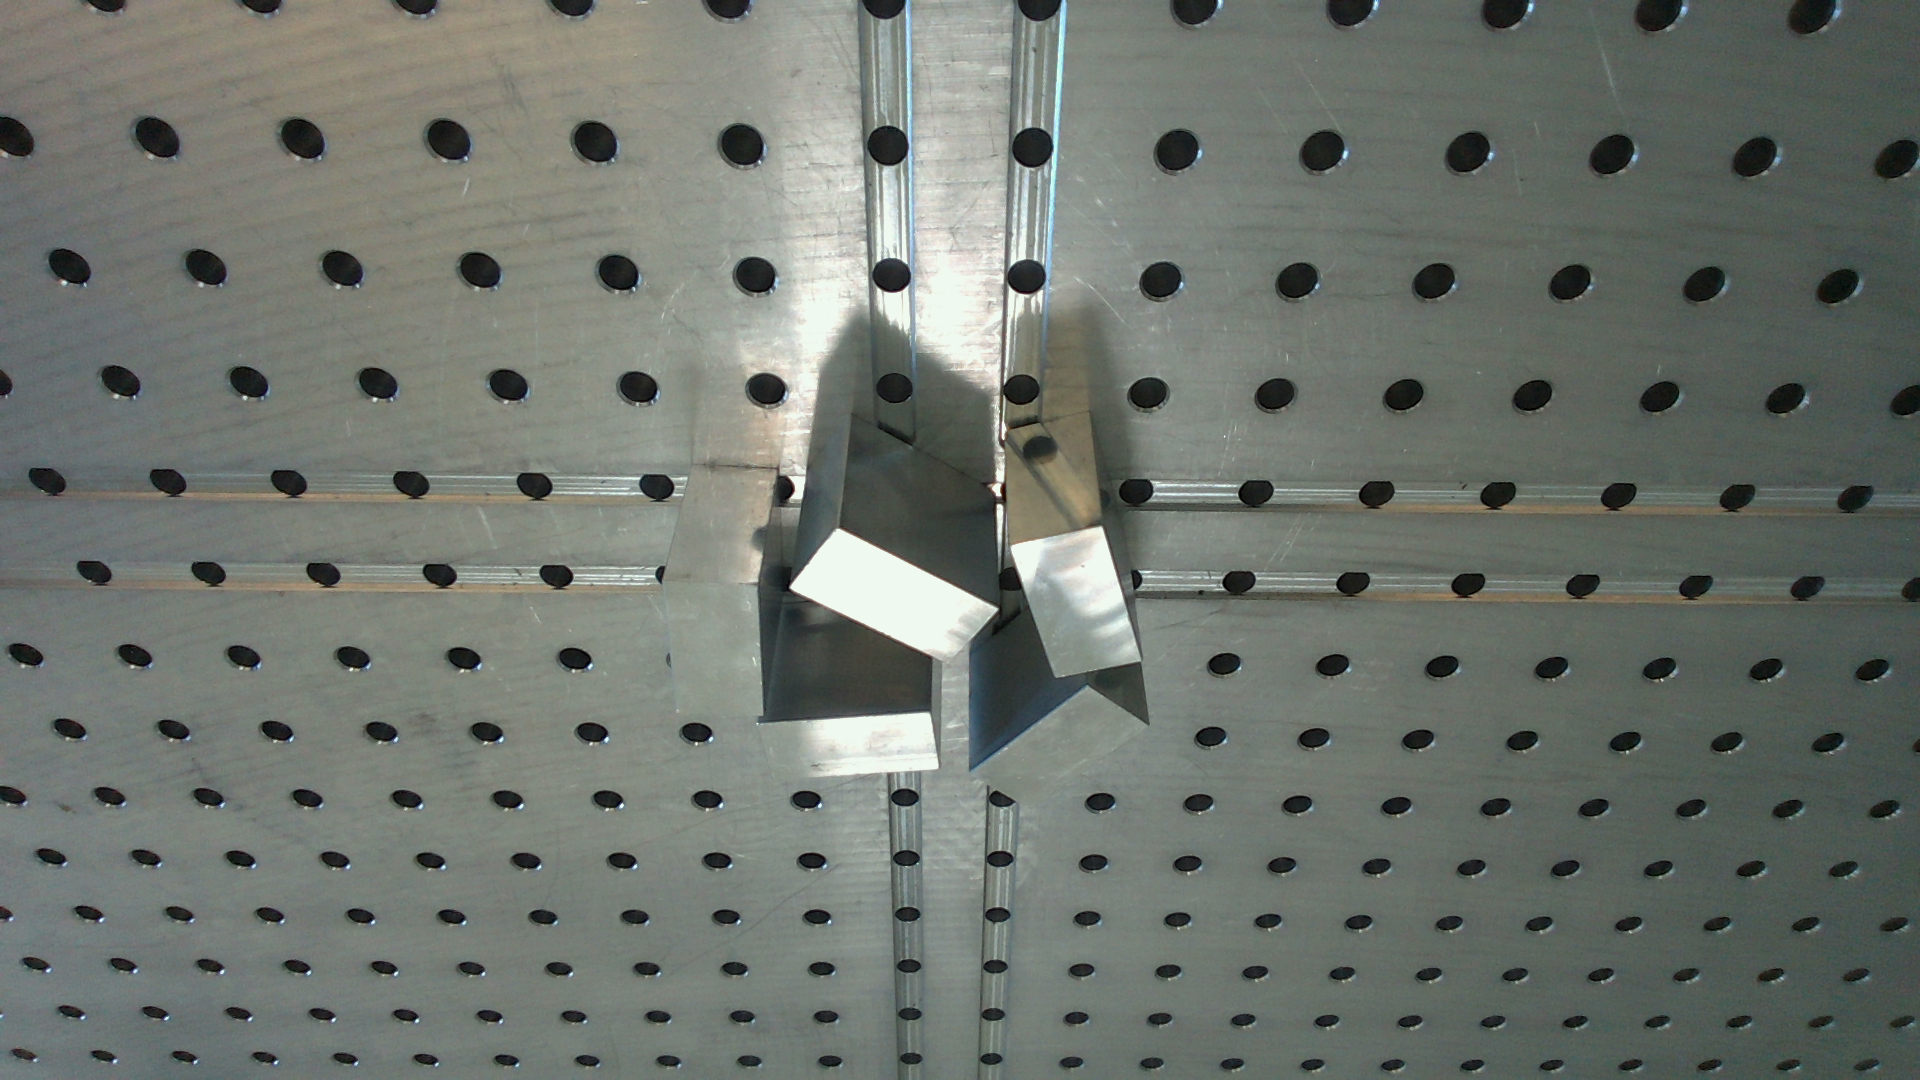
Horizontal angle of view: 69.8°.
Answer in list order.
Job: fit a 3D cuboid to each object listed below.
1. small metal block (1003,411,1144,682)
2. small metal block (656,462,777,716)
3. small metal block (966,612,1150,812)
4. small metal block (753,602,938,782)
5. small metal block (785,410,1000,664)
[{"bbox_3d":[0.031,0.002,0.378,0.025,0.050,0.050,-13,128,10],"label":"small metal block"},{"bbox_3d":[-0.067,0.014,0.388,0.025,0.050,0.050,3,131,-2],"label":"small metal block"},{"bbox_3d":[0.028,0.045,0.415,0.025,0.050,0.050,35,122,-25],"label":"small metal block"},{"bbox_3d":[-0.032,0.044,0.413,0.050,0.050,0.025,-4,130,3],"label":"small metal block"},{"bbox_3d":[-0.017,-0.001,0.376,0.050,0.050,0.025,27,126,-21],"label":"small metal block"}]
